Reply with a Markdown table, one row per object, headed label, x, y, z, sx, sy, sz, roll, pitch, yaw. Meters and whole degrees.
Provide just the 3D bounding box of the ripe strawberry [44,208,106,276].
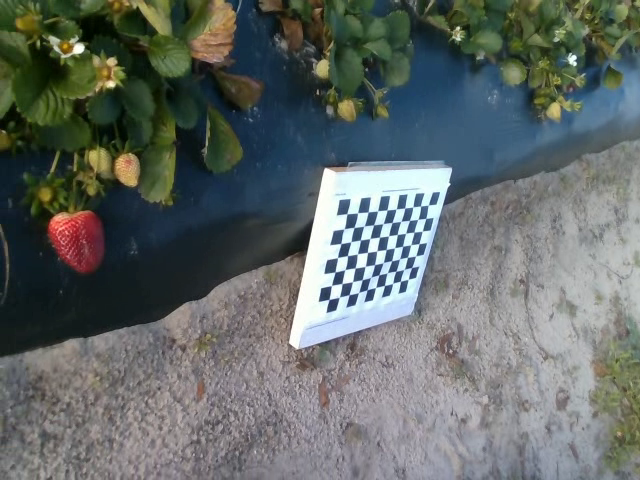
| label | x | y | z | sx | sy | sz | roll | pitch | yaw |
| --- | --- | --- | --- | --- | --- | --- | --- | --- | --- |
| ripe strawberry | -0.251 | 0.000 | 0.630 | 0.052 | 0.068 | 0.044 | -14 | -12 | -43 |
